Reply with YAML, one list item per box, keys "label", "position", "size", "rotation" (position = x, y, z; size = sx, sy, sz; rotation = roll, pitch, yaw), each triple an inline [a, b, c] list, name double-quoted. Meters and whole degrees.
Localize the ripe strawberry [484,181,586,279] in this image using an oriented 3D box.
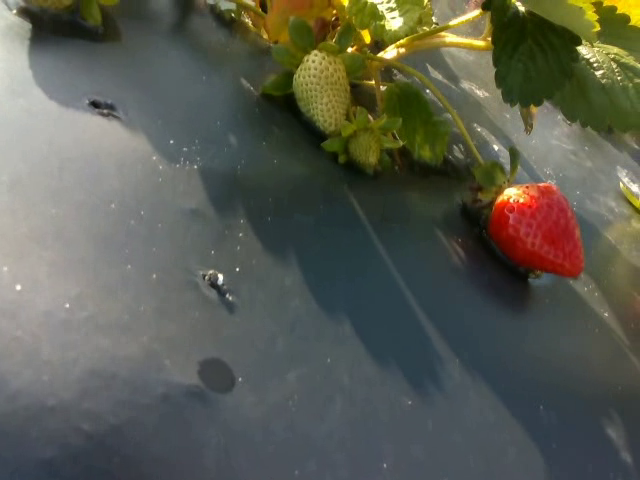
- label: "ripe strawberry"
  position: [0.075, -0.001, 0.203]
  size: [0.030, 0.045, 0.033]
  rotation: [-23, -35, -5]
